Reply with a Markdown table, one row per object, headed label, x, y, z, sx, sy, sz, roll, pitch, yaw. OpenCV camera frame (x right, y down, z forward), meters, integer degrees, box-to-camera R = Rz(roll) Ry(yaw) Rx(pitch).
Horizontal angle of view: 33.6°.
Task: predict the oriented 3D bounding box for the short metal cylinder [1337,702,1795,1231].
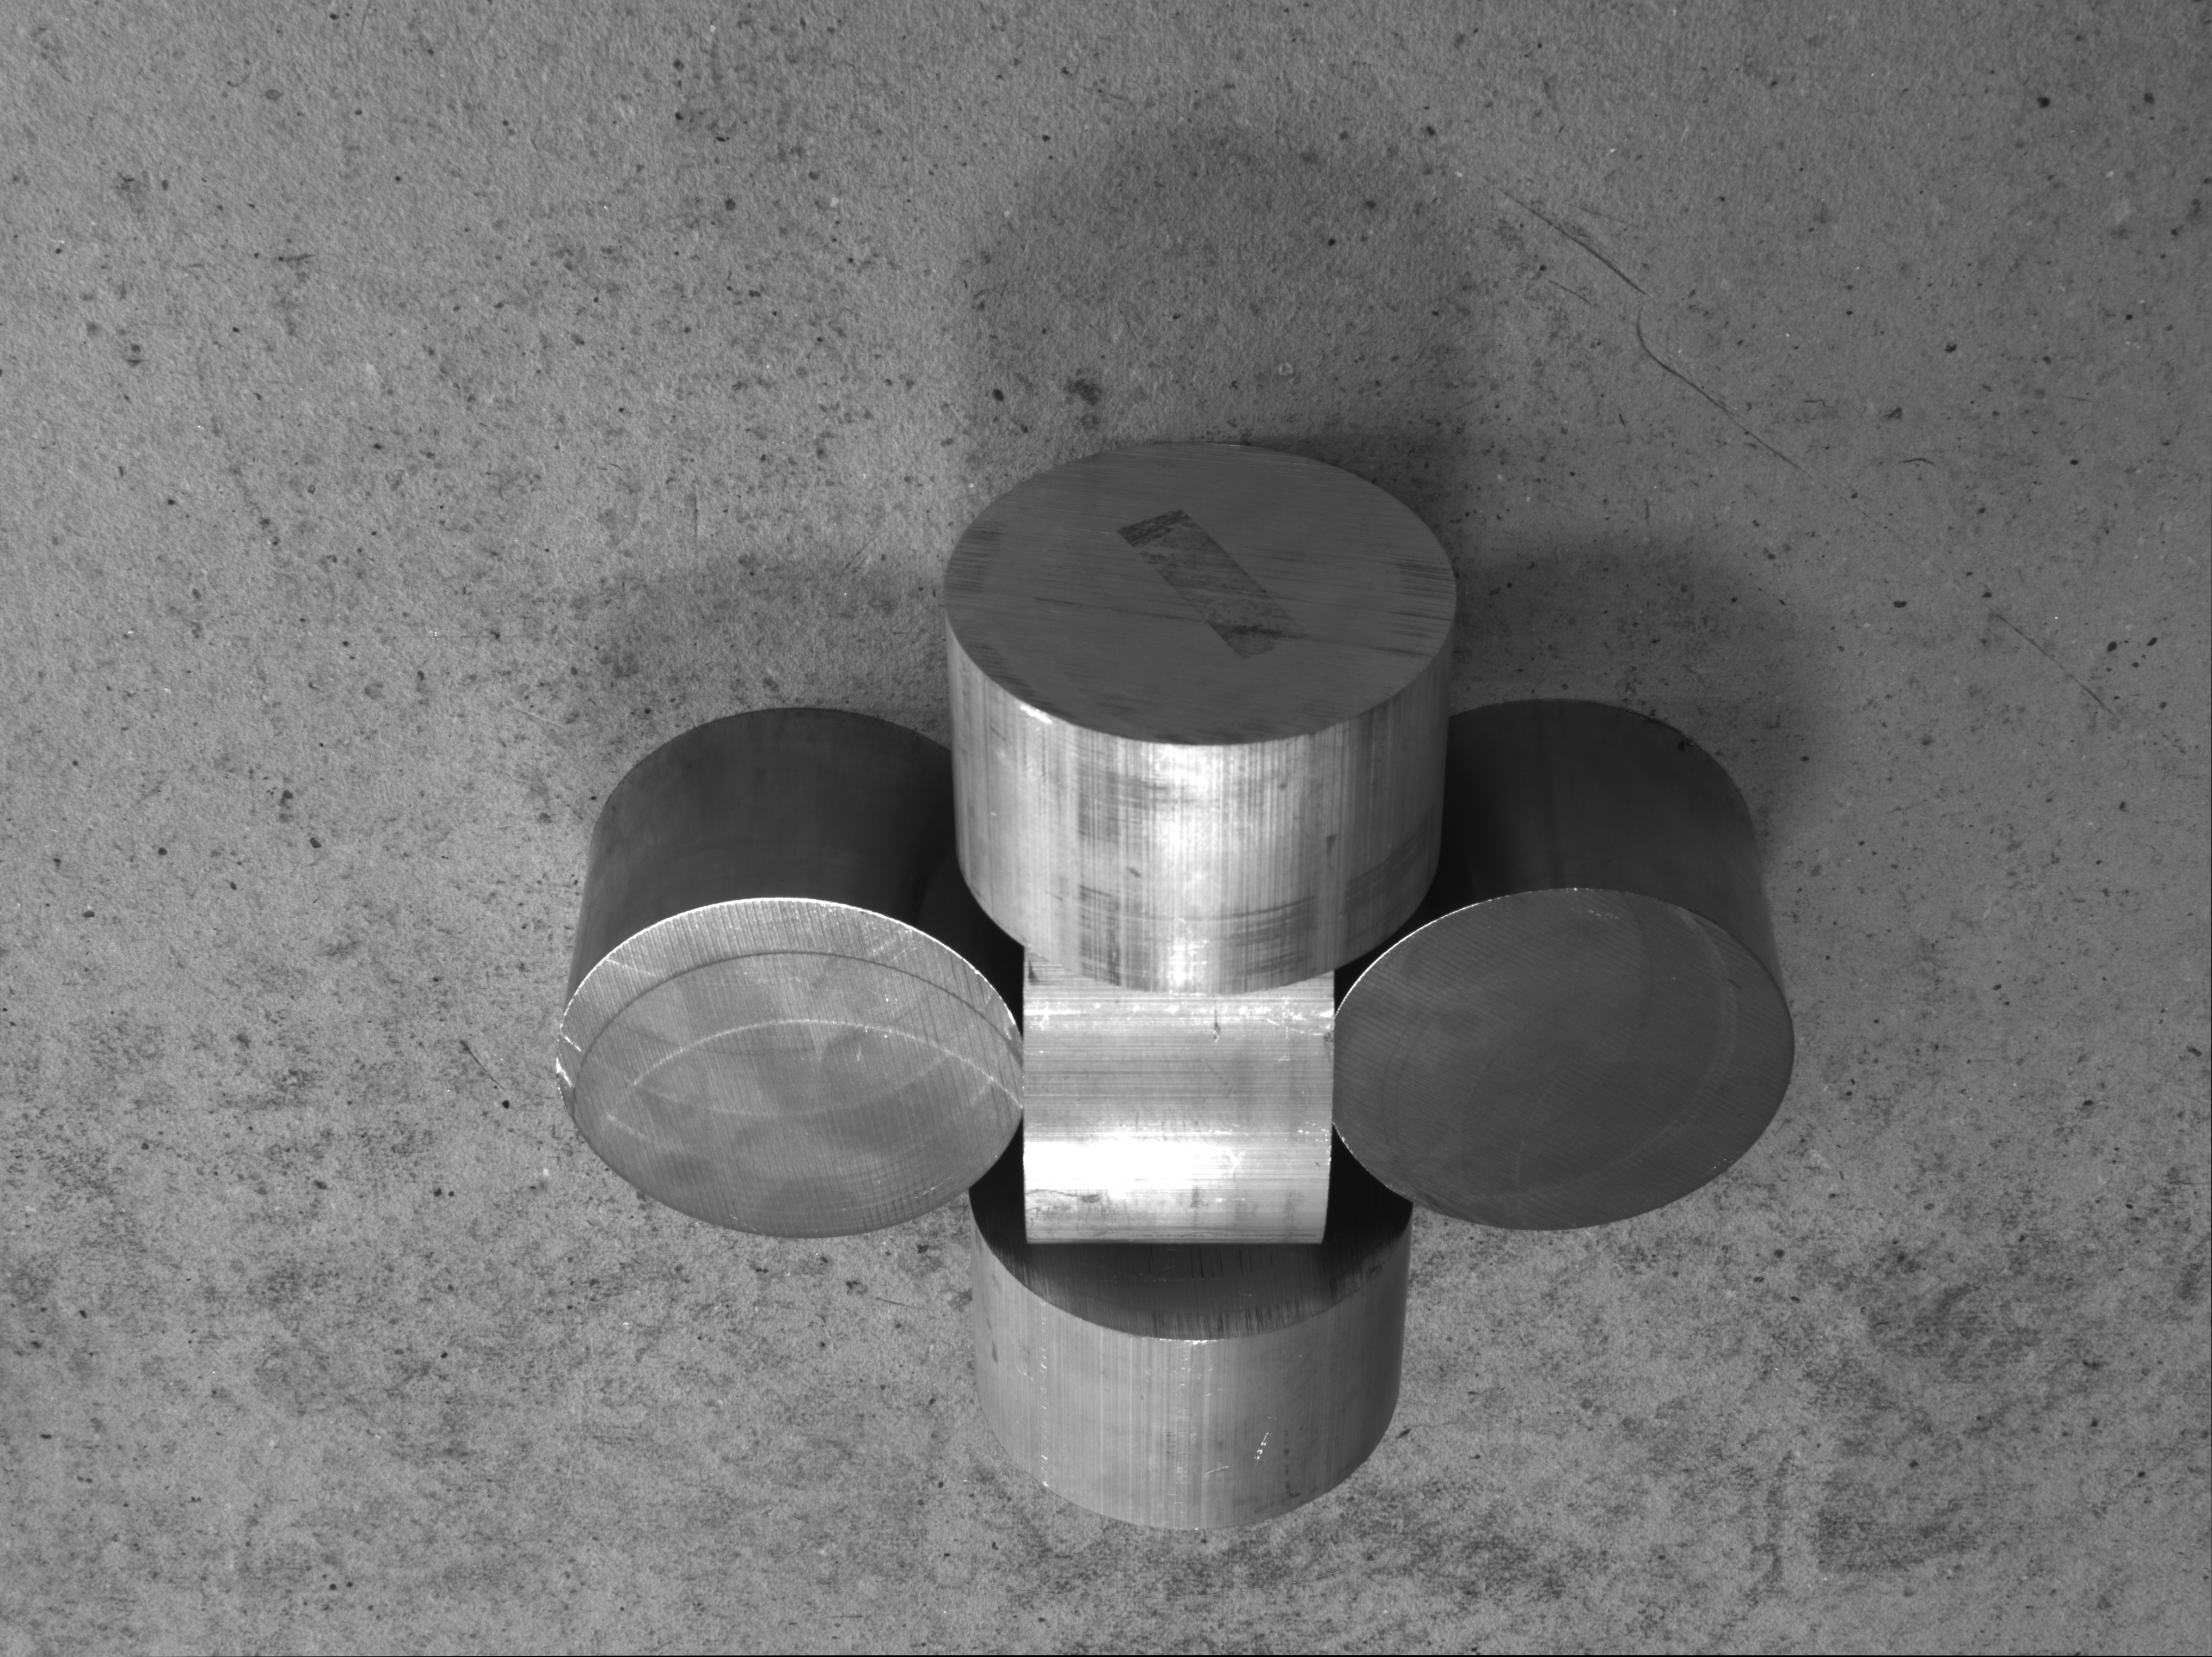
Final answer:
| label | x | y | z | sx | sy | sz | roll | pitch | yaw |
| --- | --- | --- | --- | --- | --- | --- | --- | --- | --- |
| short metal cylinder | 0.077 | 0.025 | 0.643 | 0.080 | 0.050 | 0.080 | 0 | 130 | 0 |

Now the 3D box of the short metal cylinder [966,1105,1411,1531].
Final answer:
| label | x | y | z | sx | sy | sz | roll | pitch | yaw |
| --- | --- | --- | --- | --- | --- | --- | --- | --- | --- |
| short metal cylinder | 0.015 | 0.081 | 0.672 | 0.080 | 0.080 | 0.050 | 0 | 129 | 0 |

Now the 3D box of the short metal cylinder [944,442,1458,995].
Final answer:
| label | x | y | z | sx | sy | sz | roll | pitch | yaw |
| --- | --- | --- | --- | --- | --- | --- | --- | --- | --- |
| short metal cylinder | 0.015 | -0.019 | 0.588 | 0.080 | 0.080 | 0.050 | 0 | 130 | 0 |

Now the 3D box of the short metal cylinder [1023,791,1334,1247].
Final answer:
| label | x | y | z | sx | sy | sz | roll | pitch | yaw |
| --- | --- | --- | --- | --- | --- | --- | --- | --- | --- |
| short metal cylinder | 0.012 | 0.032 | 0.630 | 0.050 | 0.080 | 0.080 | 0 | 130 | 0 |

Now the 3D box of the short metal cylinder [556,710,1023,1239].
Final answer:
| label | x | y | z | sx | sy | sz | roll | pitch | yaw |
| --- | --- | --- | --- | --- | --- | --- | --- | --- | --- |
| short metal cylinder | -0.054 | 0.026 | 0.645 | 0.080 | 0.050 | 0.080 | -1 | 130 | 0 |
